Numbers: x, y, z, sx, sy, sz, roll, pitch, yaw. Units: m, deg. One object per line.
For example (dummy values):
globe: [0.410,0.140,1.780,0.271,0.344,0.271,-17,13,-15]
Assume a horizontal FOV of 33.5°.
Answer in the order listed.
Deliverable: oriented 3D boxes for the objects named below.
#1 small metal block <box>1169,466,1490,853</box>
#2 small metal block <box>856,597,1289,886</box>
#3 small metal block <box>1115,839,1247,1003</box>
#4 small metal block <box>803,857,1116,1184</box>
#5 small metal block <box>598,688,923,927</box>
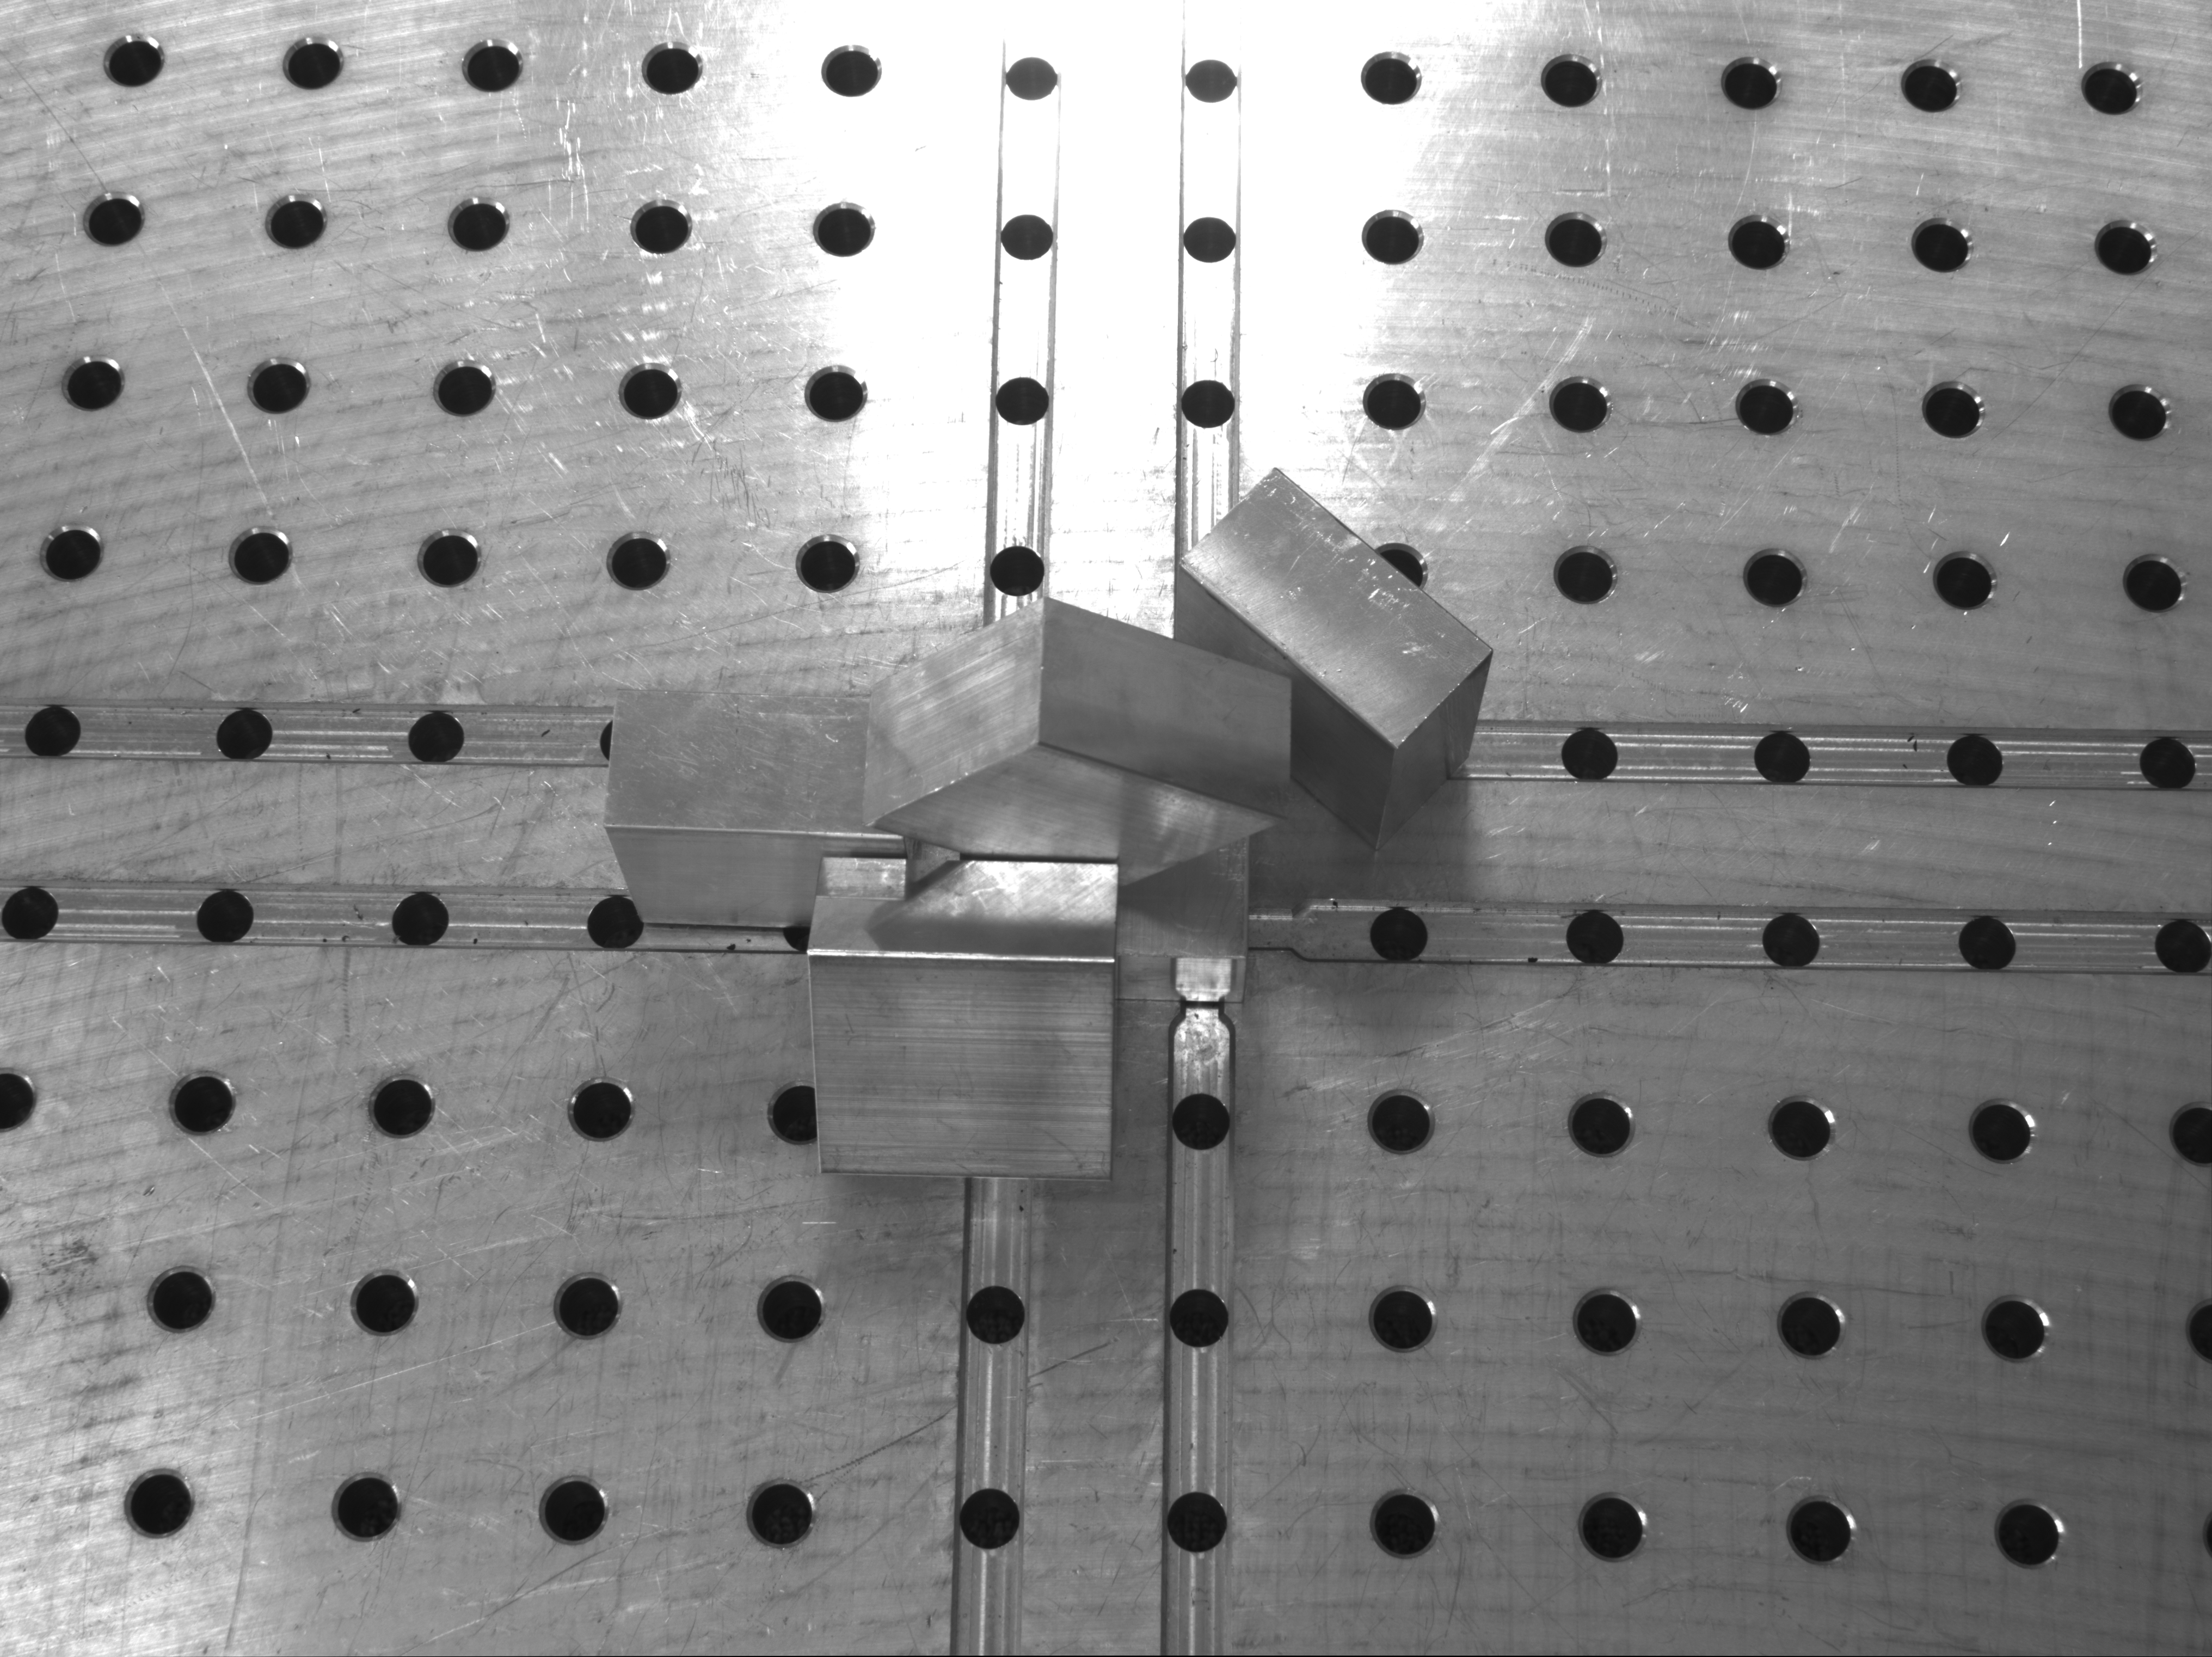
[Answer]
small metal block: [0.038,-0.029,0.645,0.050,0.050,0.025,41,74,14]
small metal block: [-0.006,-0.012,0.602,0.050,0.050,0.025,17,66,-33]
small metal block: [-0.001,0.002,0.647,0.050,0.025,0.050,2,70,0]
small metal block: [-0.024,0.033,0.620,0.050,0.050,0.025,1,38,1]
small metal block: [-0.058,-0.003,0.635,0.050,0.050,0.025,1,70,1]
